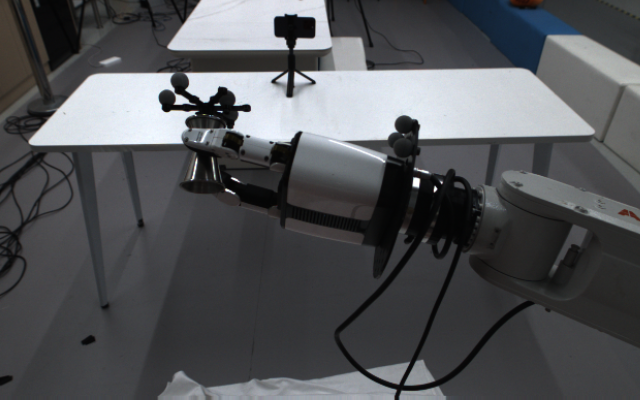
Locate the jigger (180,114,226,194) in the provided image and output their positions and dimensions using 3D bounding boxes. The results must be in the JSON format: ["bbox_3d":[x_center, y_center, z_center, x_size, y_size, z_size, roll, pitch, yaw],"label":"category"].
[{"bbox_3d":[-0.112,-0.045,0.478,0.043,0.043,0.071,0,75,-3],"label":"jigger"}]
